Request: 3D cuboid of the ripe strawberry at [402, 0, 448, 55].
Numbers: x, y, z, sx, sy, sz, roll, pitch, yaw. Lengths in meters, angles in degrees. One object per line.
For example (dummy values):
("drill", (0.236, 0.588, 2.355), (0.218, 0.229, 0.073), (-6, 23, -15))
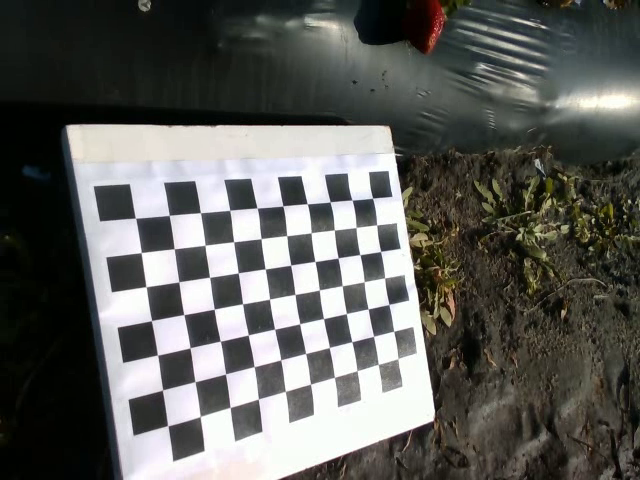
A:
("ripe strawberry", (0.089, -0.180, 0.568), (0.042, 0.059, 0.042), (21, -30, -37))
